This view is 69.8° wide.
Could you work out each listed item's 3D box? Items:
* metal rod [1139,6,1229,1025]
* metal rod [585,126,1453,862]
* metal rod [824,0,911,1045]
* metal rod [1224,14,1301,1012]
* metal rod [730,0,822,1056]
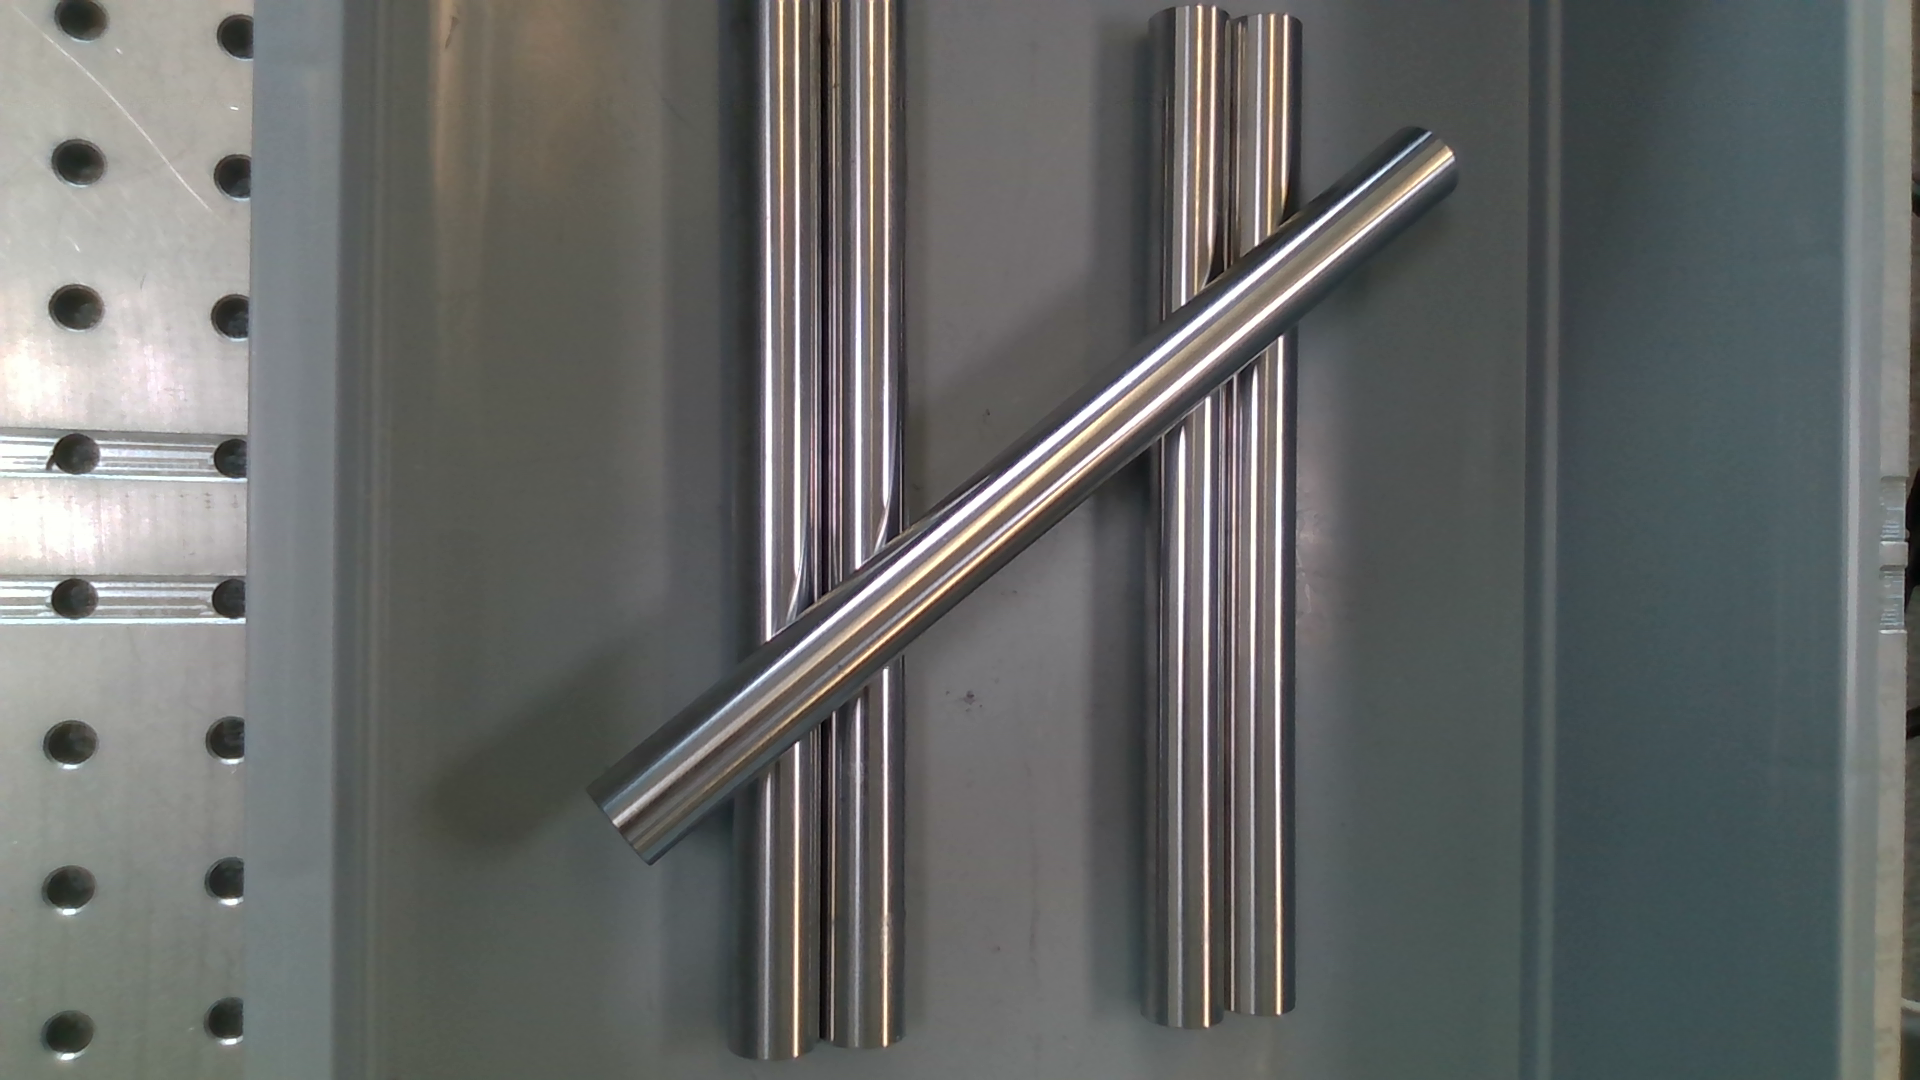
[{"bbox_3d":[0.068,-0.007,0.417,0.025,0.025,0.300,0,90,-20],"label":"metal rod"},{"bbox_3d":[0.028,-0.023,0.377,0.300,0.025,0.025,-39,103,-16],"label":"metal rod"},{"bbox_3d":[-0.026,-0.014,0.383,0.025,0.025,0.300,0,90,-20],"label":"metal rod"},{"bbox_3d":[0.091,-0.008,0.426,0.025,0.025,0.300,0,90,-20],"label":"metal rod"},{"bbox_3d":[-0.050,-0.014,0.374,0.025,0.025,0.300,0,90,-20],"label":"metal rod"}]
